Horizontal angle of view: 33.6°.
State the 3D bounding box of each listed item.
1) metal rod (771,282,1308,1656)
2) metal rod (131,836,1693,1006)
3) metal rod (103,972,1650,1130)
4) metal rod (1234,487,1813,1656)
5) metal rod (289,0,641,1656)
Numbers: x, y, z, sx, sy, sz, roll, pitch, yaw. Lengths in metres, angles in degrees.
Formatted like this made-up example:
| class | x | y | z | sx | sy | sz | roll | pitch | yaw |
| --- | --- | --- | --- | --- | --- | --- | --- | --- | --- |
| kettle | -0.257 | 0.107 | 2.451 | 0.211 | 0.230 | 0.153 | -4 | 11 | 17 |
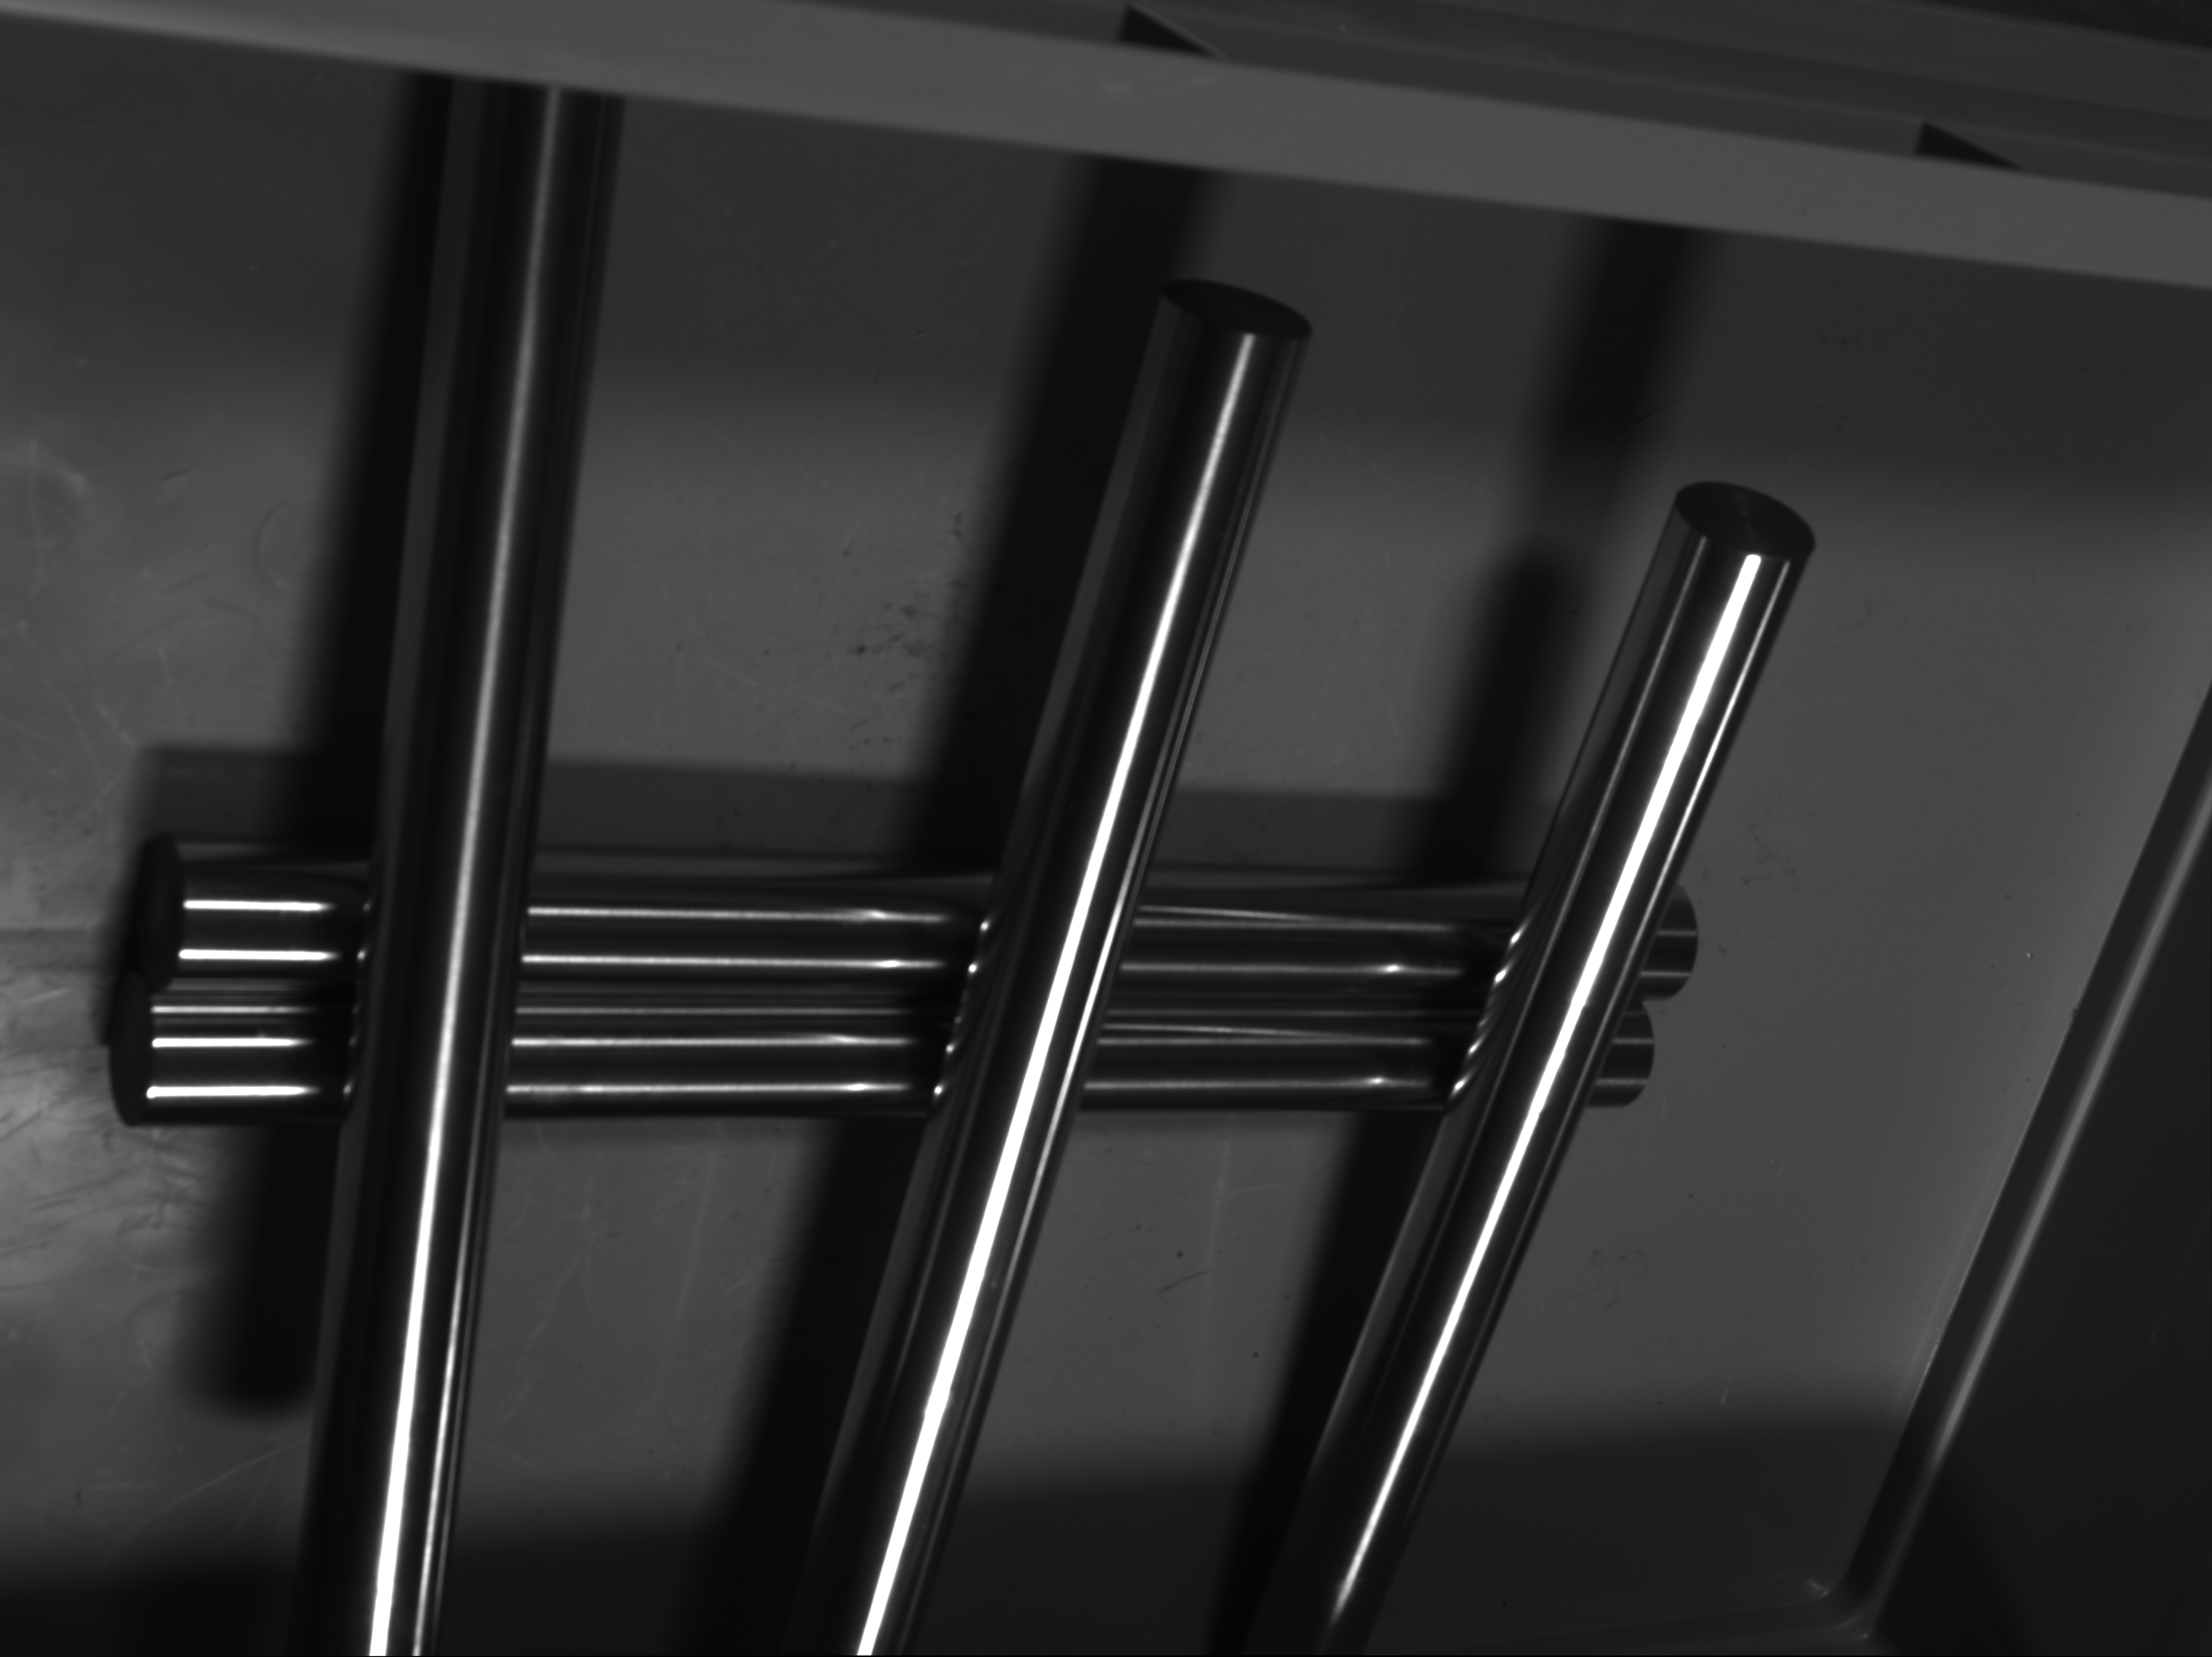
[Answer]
| class | x | y | z | sx | sy | sz | roll | pitch | yaw |
| --- | --- | --- | --- | --- | --- | --- | --- | --- | --- |
| metal rod | -0.019 | 0.050 | 0.637 | 0.025 | 0.025 | 0.300 | 1 | 118 | -31 |
| metal rod | -0.020 | 0.018 | 0.650 | 0.301 | 0.025 | 0.025 | 2 | 117 | -31 |
| metal rod | -0.027 | 0.040 | 0.659 | 0.301 | 0.025 | 0.025 | 2 | 117 | -31 |
| metal rod | 0.072 | 0.069 | 0.705 | 0.025 | 0.025 | 0.300 | -4 | 128 | -28 |
| metal rod | -0.101 | 0.011 | 0.566 | 0.025 | 0.025 | 0.300 | -1 | 110 | -30 |
